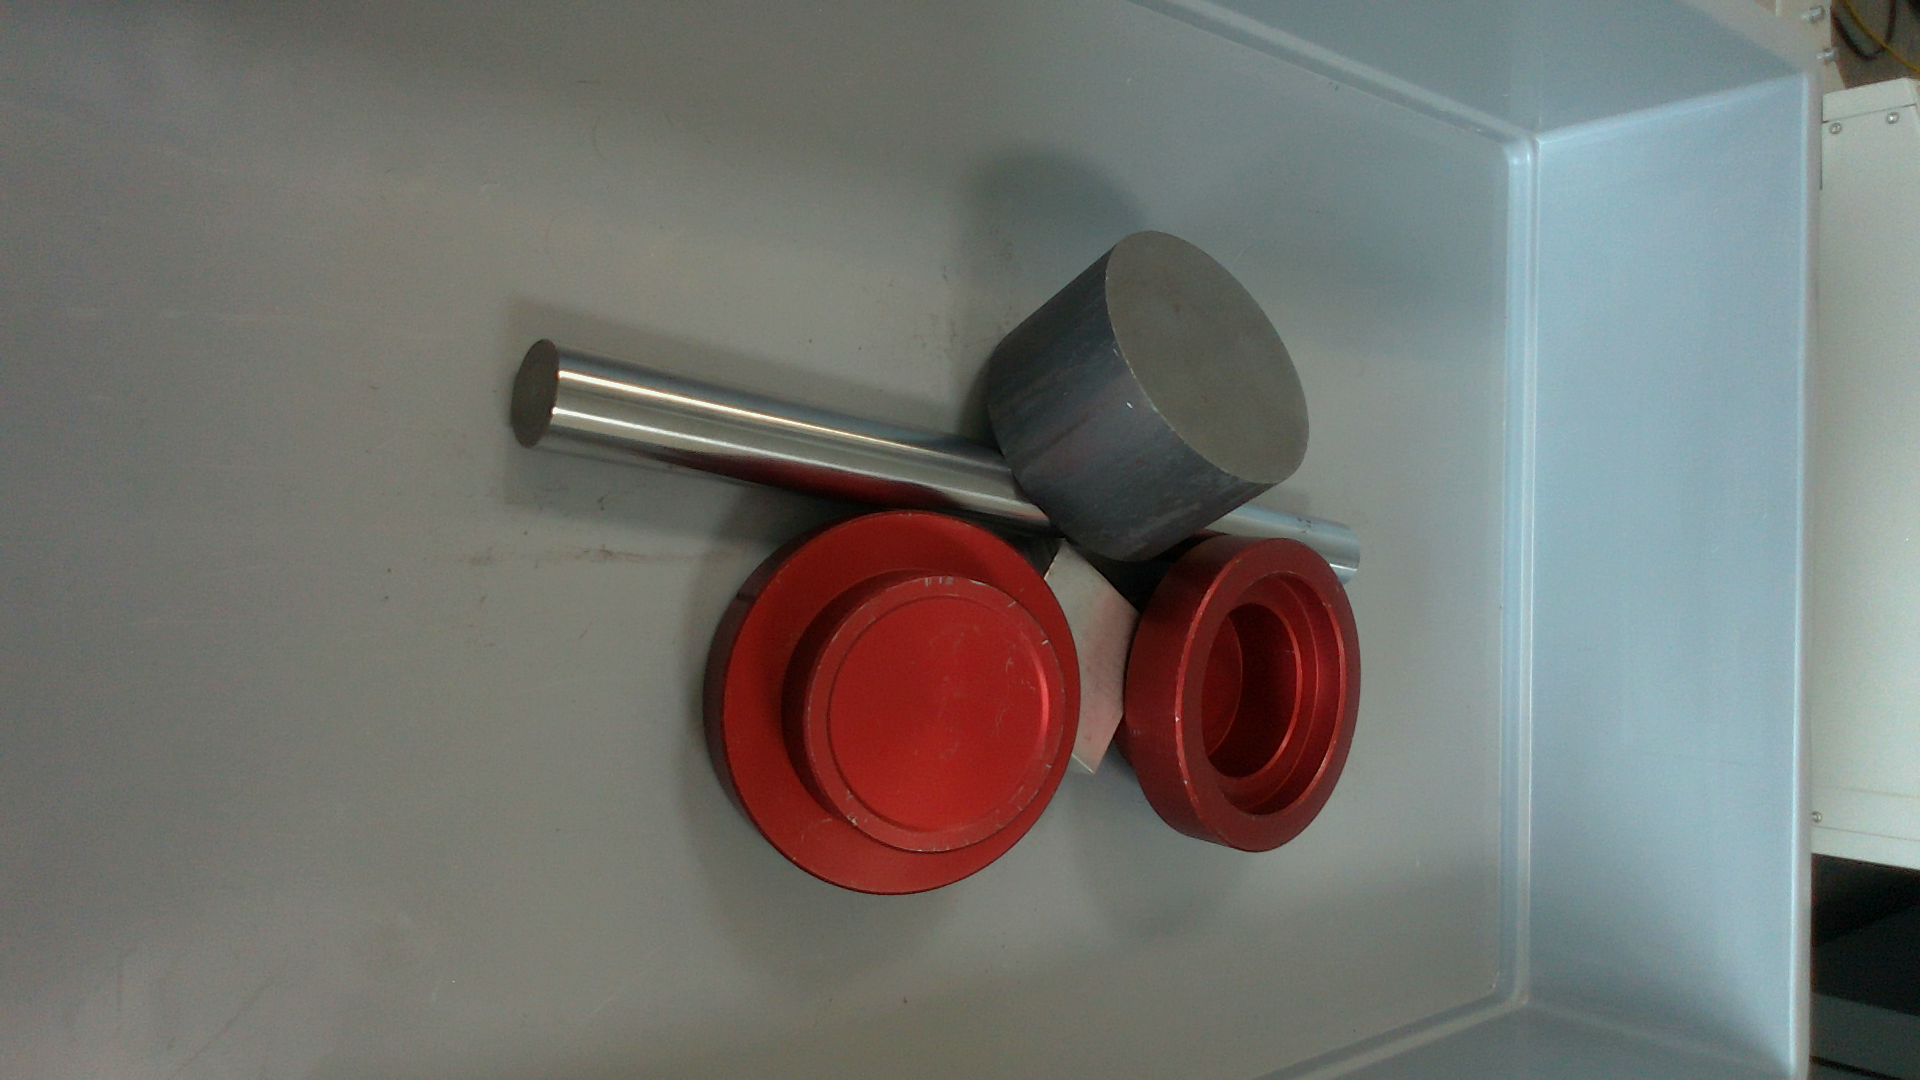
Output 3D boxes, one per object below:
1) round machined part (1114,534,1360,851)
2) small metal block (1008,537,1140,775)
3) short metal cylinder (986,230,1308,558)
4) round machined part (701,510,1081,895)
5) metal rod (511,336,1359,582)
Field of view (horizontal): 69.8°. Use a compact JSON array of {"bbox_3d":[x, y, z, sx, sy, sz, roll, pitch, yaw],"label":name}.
[{"bbox_3d":[0.085,0.047,0.444,0.098,0.042,0.098,-3,94,-43],"label":"round machined part"},{"bbox_3d":[0.027,0.034,0.410,0.050,0.025,0.050,44,64,-31],"label":"small metal block"},{"bbox_3d":[0.054,-0.041,0.397,0.080,0.050,0.080,24,50,-31],"label":"short metal cylinder"},{"bbox_3d":[-0.013,0.041,0.349,0.098,0.042,0.098,0,91,-22],"label":"round machined part"},{"bbox_3d":[0.019,-0.014,0.403,0.301,0.025,0.025,9,84,-39],"label":"metal rod"}]
